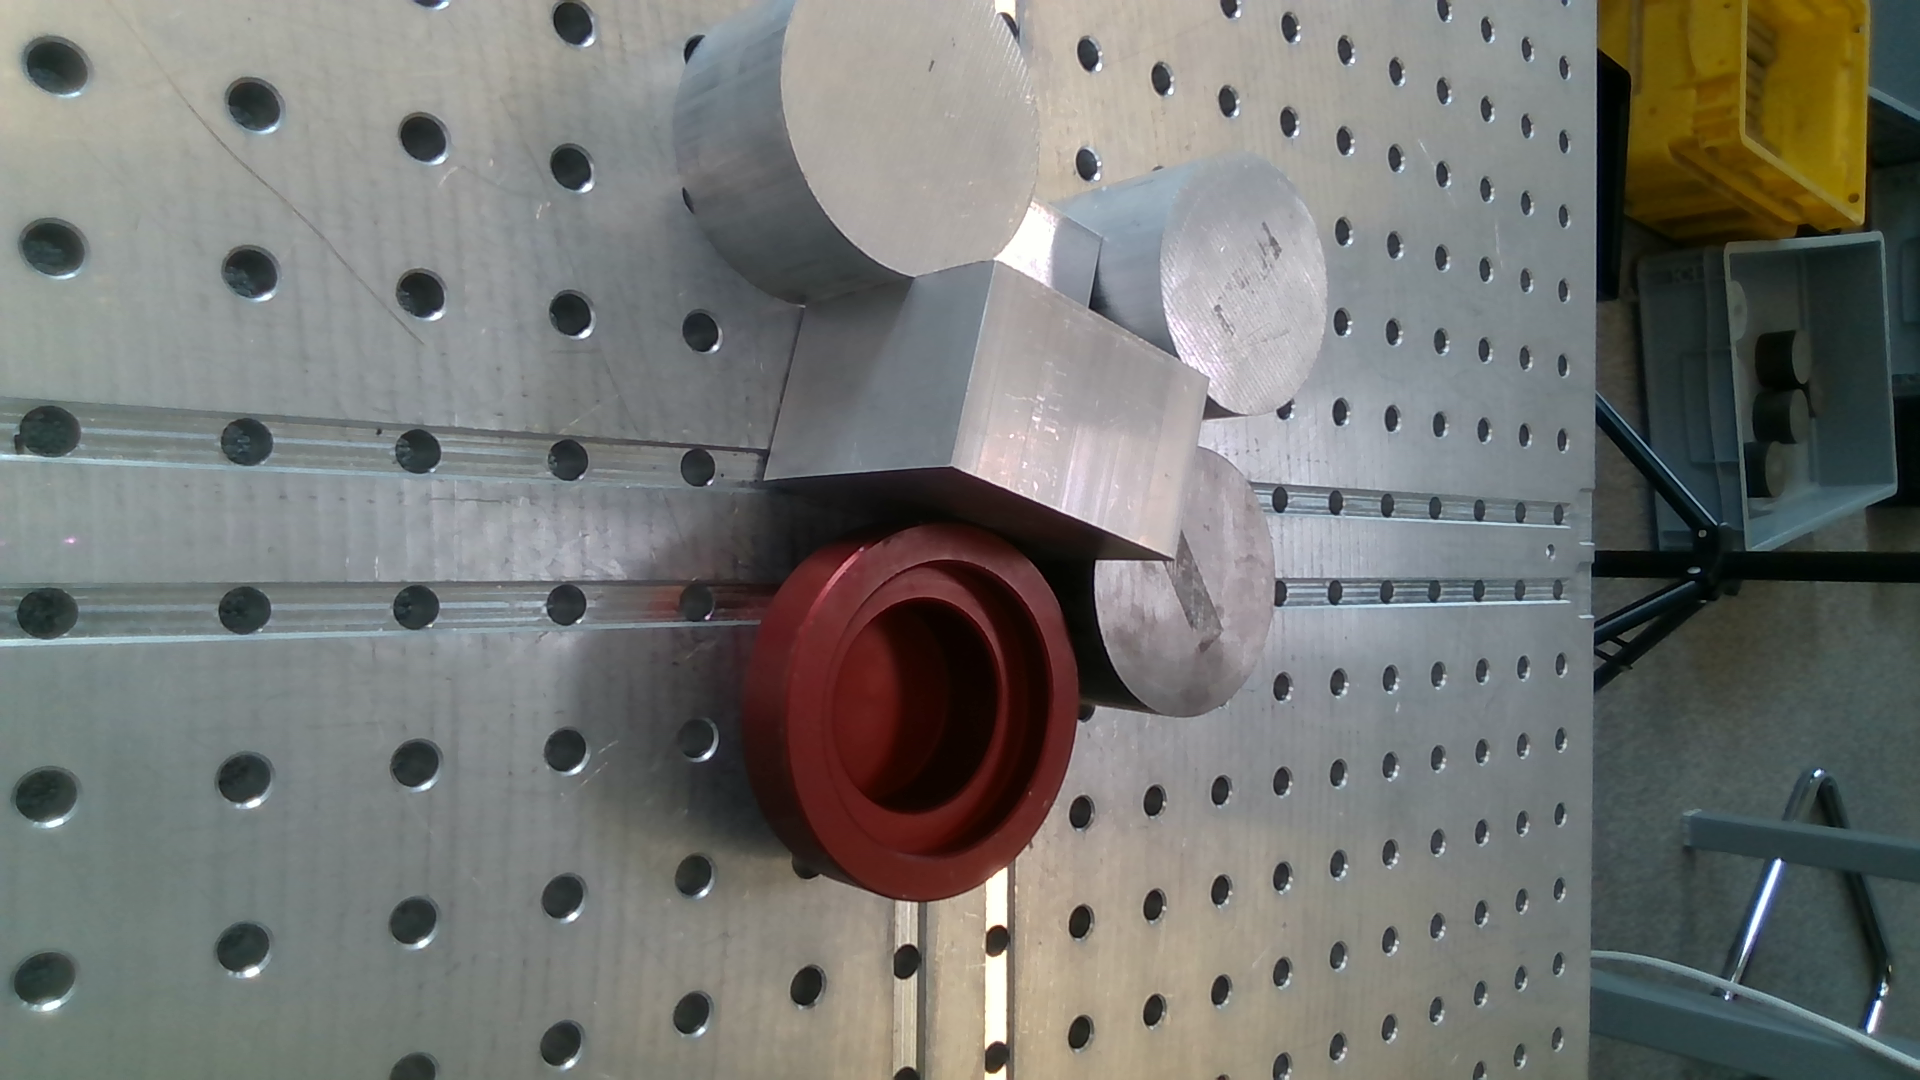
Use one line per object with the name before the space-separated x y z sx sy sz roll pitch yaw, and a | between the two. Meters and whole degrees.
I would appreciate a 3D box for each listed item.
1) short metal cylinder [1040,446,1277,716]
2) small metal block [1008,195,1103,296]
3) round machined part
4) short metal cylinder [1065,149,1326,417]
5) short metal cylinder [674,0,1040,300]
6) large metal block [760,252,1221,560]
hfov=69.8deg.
short metal cylinder | 0.052 0.011 0.422 0.080 0.050 0.080 0 90 -40
small metal block | 0.011 -0.075 0.403 0.050 0.025 0.050 19 78 -39
round machined part | -0.017 0.043 0.369 0.098 0.042 0.098 0 90 -40
short metal cylinder | 0.072 -0.078 0.438 0.080 0.050 0.080 0 90 -40
short metal cylinder | -0.026 -0.105 0.356 0.080 0.050 0.080 0 90 -40
large metal block | 0.008 -0.030 0.361 0.080 0.080 0.050 20 77 -38
